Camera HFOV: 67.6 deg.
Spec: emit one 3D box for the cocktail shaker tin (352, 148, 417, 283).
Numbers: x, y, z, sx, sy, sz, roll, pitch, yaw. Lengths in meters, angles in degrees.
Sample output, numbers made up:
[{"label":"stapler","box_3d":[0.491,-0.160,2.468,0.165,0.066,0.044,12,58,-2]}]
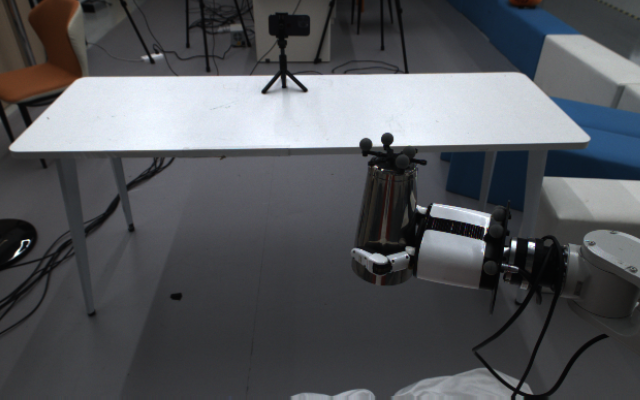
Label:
[{"label":"cocktail shaker tin","box_3d":[0.097,0.025,0.687,0.093,0.170,0.093,1,28,-1]}]
